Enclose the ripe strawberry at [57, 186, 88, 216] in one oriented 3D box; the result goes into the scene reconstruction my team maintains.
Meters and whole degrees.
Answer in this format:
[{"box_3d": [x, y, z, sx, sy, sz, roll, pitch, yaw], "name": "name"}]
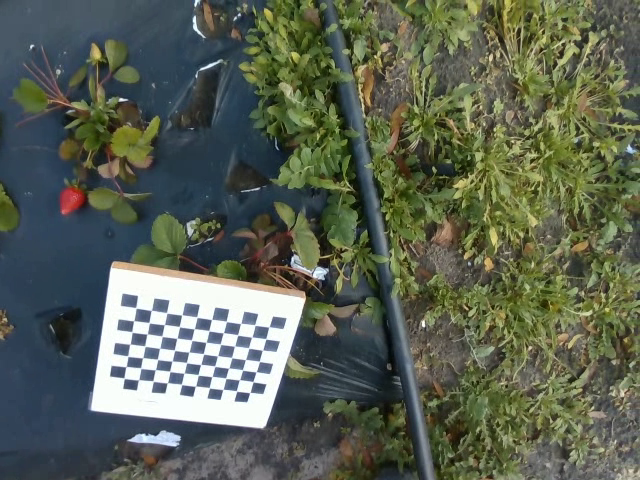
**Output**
[{"box_3d": [-0.369, -0.053, 0.872, 0.044, 0.052, 0.041, 30, -26, -30], "name": "ripe strawberry"}]
